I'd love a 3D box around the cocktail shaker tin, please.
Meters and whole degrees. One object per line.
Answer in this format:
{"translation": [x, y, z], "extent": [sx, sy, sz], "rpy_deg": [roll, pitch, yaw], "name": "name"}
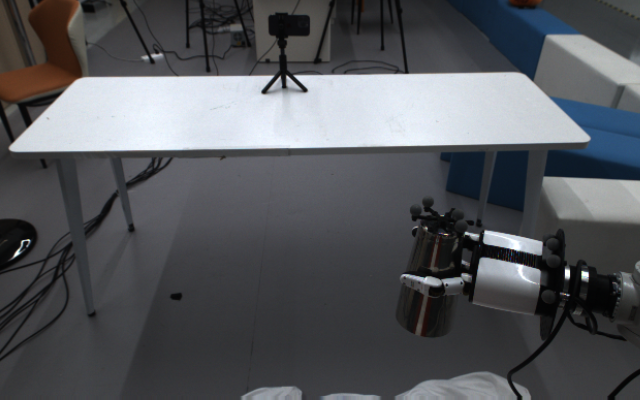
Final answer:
{"translation": [0.172, 0.110, 0.737], "extent": [0.093, 0.170, 0.093], "rpy_deg": [3, 26, -1], "name": "cocktail shaker tin"}
